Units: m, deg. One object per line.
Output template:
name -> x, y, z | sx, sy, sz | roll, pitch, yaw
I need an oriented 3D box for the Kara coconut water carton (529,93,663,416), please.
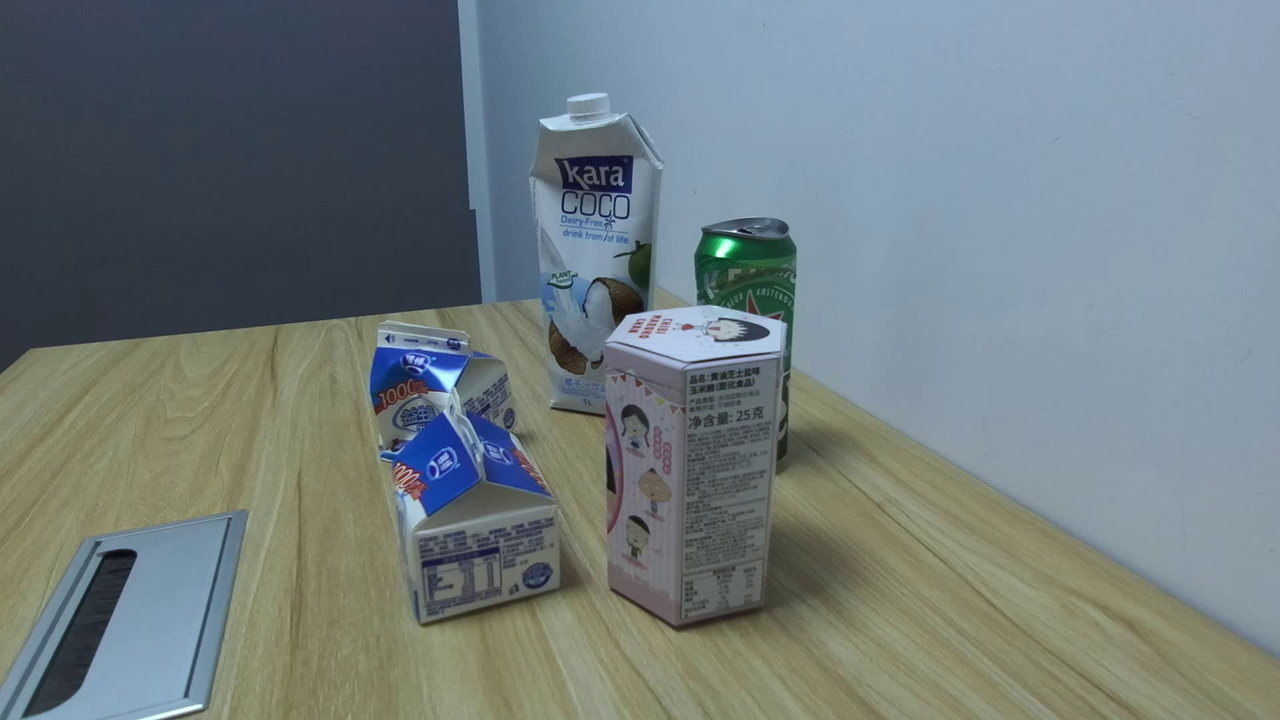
Kara coconut water carton -> -0.033, -0.076, 0.539 | 0.115, 0.238, 0.069 | 7, 22, 20

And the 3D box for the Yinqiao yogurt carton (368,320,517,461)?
Yinqiao yogurt carton -> -0.140, 0.020, 0.490 | 0.077, 0.094, 0.071 | 7, 26, 20

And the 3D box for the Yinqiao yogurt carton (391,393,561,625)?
Yinqiao yogurt carton -> -0.087, 0.069, 0.363 | 0.074, 0.092, 0.075 | -9, 24, -23

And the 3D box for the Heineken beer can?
Heineken beer can -> 0.070, -0.008, 0.465 | 0.078, 0.164, 0.066 | -5, 21, -8

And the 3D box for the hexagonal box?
hexagonal box -> 0.026, 0.050, 0.352 | 0.084, 0.136, 0.091 | 5, 21, 10
